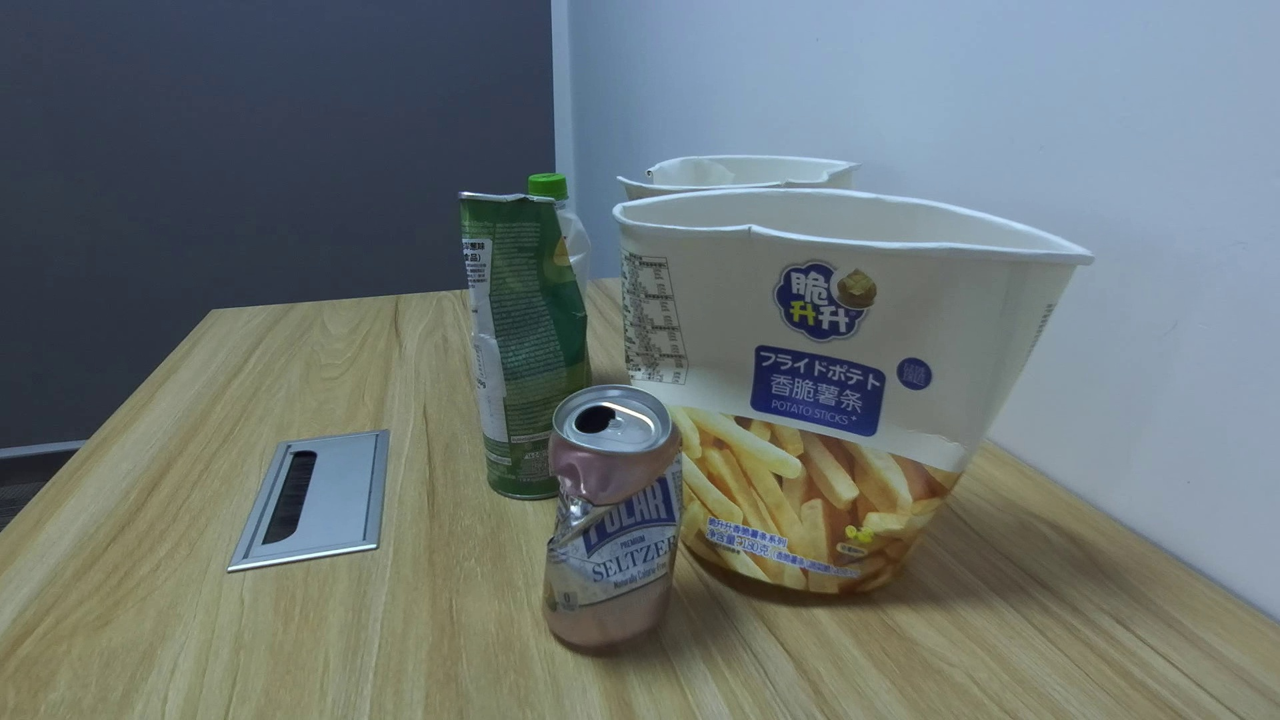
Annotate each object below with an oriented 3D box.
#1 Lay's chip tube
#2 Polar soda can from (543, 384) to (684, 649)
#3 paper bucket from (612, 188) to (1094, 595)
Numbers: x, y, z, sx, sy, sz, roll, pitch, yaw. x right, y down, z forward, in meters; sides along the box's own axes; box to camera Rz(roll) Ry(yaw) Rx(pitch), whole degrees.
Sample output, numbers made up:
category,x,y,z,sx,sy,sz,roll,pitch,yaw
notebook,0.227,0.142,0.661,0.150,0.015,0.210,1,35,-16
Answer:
category,x,y,z,sx,sy,sz,roll,pitch,yaw
Lay's chip tube,-0.076,-0.011,0.473,0.079,0.199,0.070,-9,15,-23
Polar soda can,-0.015,0.081,0.346,0.066,0.122,0.071,9,23,10
paper bucket,0.095,0.011,0.401,0.218,0.199,0.147,-2,23,-3
